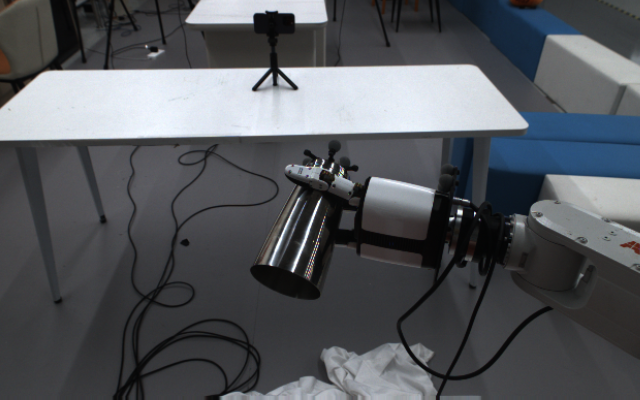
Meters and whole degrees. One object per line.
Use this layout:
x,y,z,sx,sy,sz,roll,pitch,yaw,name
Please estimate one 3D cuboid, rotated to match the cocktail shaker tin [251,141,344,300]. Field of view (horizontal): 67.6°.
-0.016,0.029,0.629,0.093,0.093,0.170,13,59,16,cocktail shaker tin
